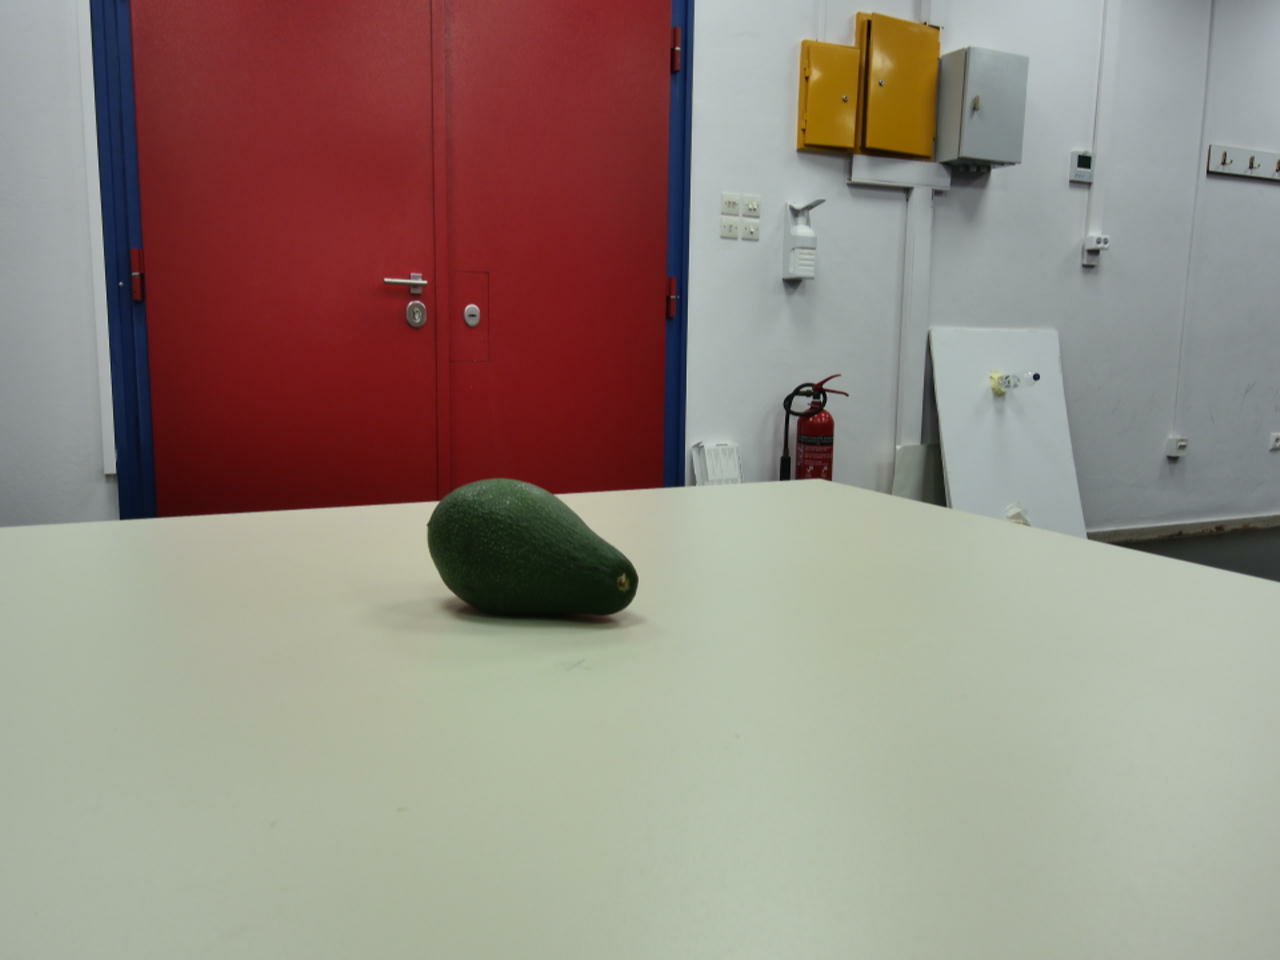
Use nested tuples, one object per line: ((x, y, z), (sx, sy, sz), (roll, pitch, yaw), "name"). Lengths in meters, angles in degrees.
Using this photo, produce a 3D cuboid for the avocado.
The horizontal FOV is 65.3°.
((-0.059, 0.035, 0.517), (0.110, 0.071, 0.072), (6, 8, 42), "avocado")
